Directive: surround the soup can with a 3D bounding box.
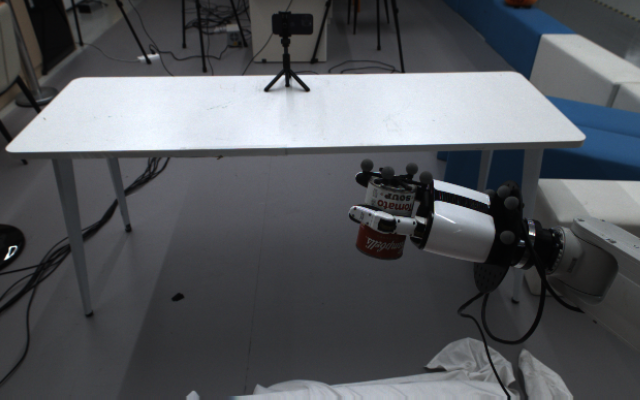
[{"bbox_3d":[0.092,0.022,0.670,0.067,0.101,0.067,9,19,-3],"label":"soup can"}]
